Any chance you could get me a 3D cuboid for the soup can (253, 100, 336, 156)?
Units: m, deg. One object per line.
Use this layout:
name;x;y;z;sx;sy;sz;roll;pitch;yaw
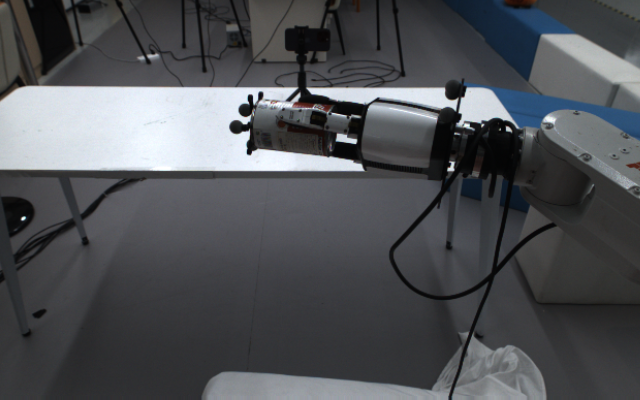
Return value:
soup can;-0.031;-0.096;0.636;0.101;0.067;0.067;7;35;11
